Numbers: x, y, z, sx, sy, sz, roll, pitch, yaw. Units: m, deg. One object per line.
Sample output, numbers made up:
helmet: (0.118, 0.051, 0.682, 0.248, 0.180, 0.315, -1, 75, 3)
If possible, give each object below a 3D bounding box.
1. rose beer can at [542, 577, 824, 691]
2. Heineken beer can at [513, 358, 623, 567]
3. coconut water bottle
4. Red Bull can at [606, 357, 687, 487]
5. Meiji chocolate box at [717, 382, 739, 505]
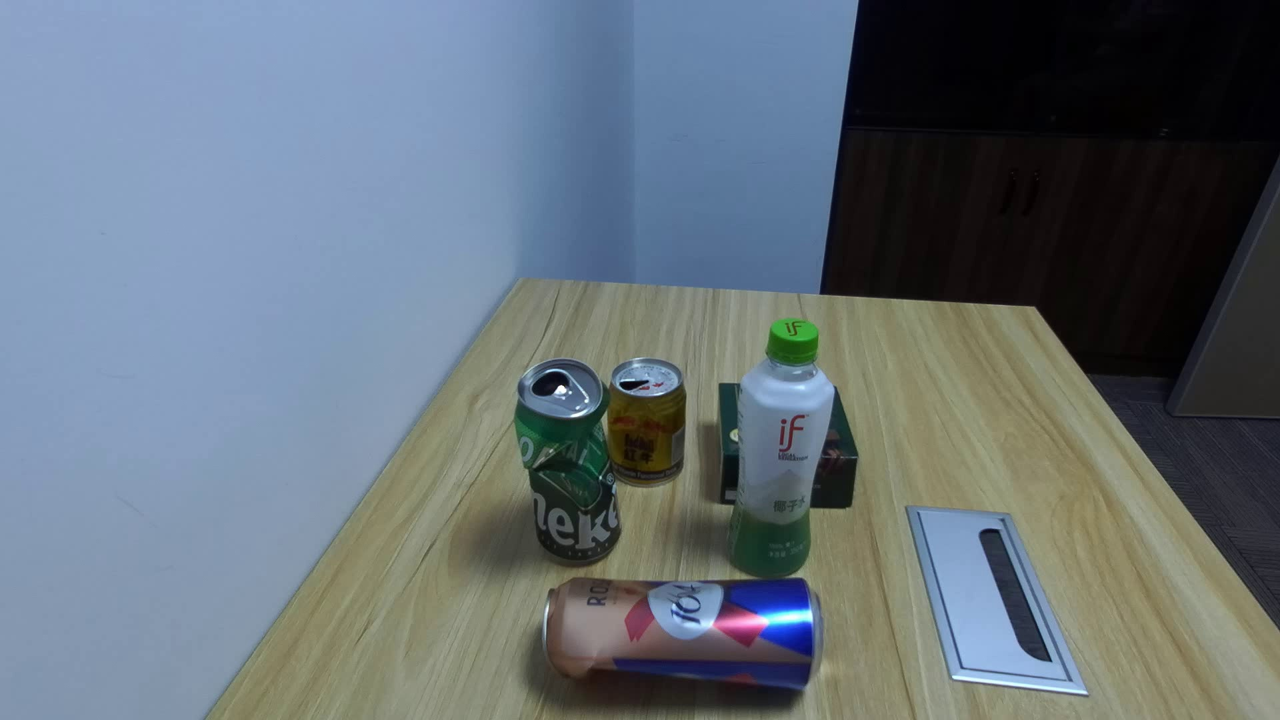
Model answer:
rose beer can: (0.026, 0.164, 0.435, 0.168, 0.069, 0.070, 0, 50, 4)
Heineken beer can: (-0.050, 0.074, 0.506, 0.067, 0.159, 0.078, -12, 38, -13)
coconut water bottle: (0.097, 0.062, 0.485, 0.063, 0.189, 0.063, 1, 30, 0)
Red Bull can: (0.005, 0.052, 0.596, 0.069, 0.092, 0.069, 0, 31, 0)
Meiji chocolate box: (0.122, 0.071, 0.608, 0.109, 0.056, 0.110, 1, 29, 3)
